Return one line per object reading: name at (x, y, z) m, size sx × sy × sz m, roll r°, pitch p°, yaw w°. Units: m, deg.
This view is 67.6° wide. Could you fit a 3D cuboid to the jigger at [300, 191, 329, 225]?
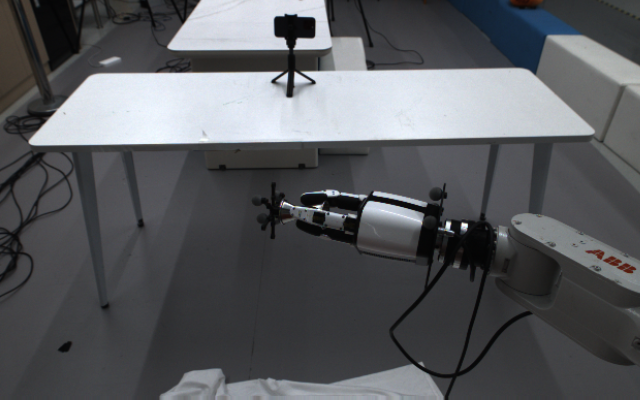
jigger at (-0.016, 0.015, 0.734) m, size 0.071 × 0.043 × 0.043 m, roll 3°, pitch 34°, yaw 17°
